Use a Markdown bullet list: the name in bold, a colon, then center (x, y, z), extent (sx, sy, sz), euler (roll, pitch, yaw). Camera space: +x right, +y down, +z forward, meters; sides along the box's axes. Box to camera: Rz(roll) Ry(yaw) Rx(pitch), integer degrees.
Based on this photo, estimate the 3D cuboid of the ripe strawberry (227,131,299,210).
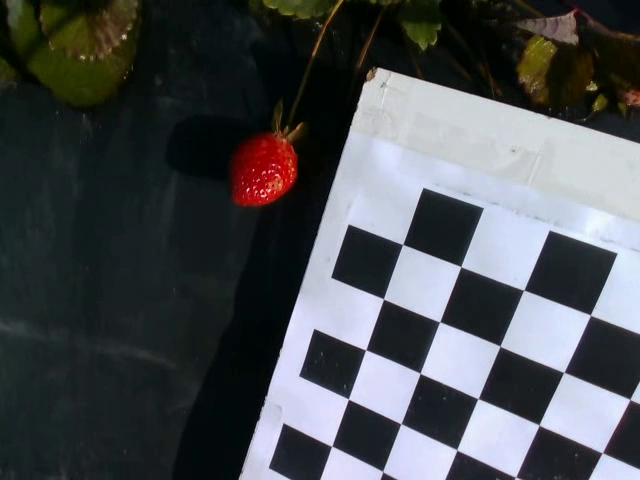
- **ripe strawberry**: center (-0.023, -0.024, 0.230), extent (0.034, 0.038, 0.033), euler (20, -38, 16)
